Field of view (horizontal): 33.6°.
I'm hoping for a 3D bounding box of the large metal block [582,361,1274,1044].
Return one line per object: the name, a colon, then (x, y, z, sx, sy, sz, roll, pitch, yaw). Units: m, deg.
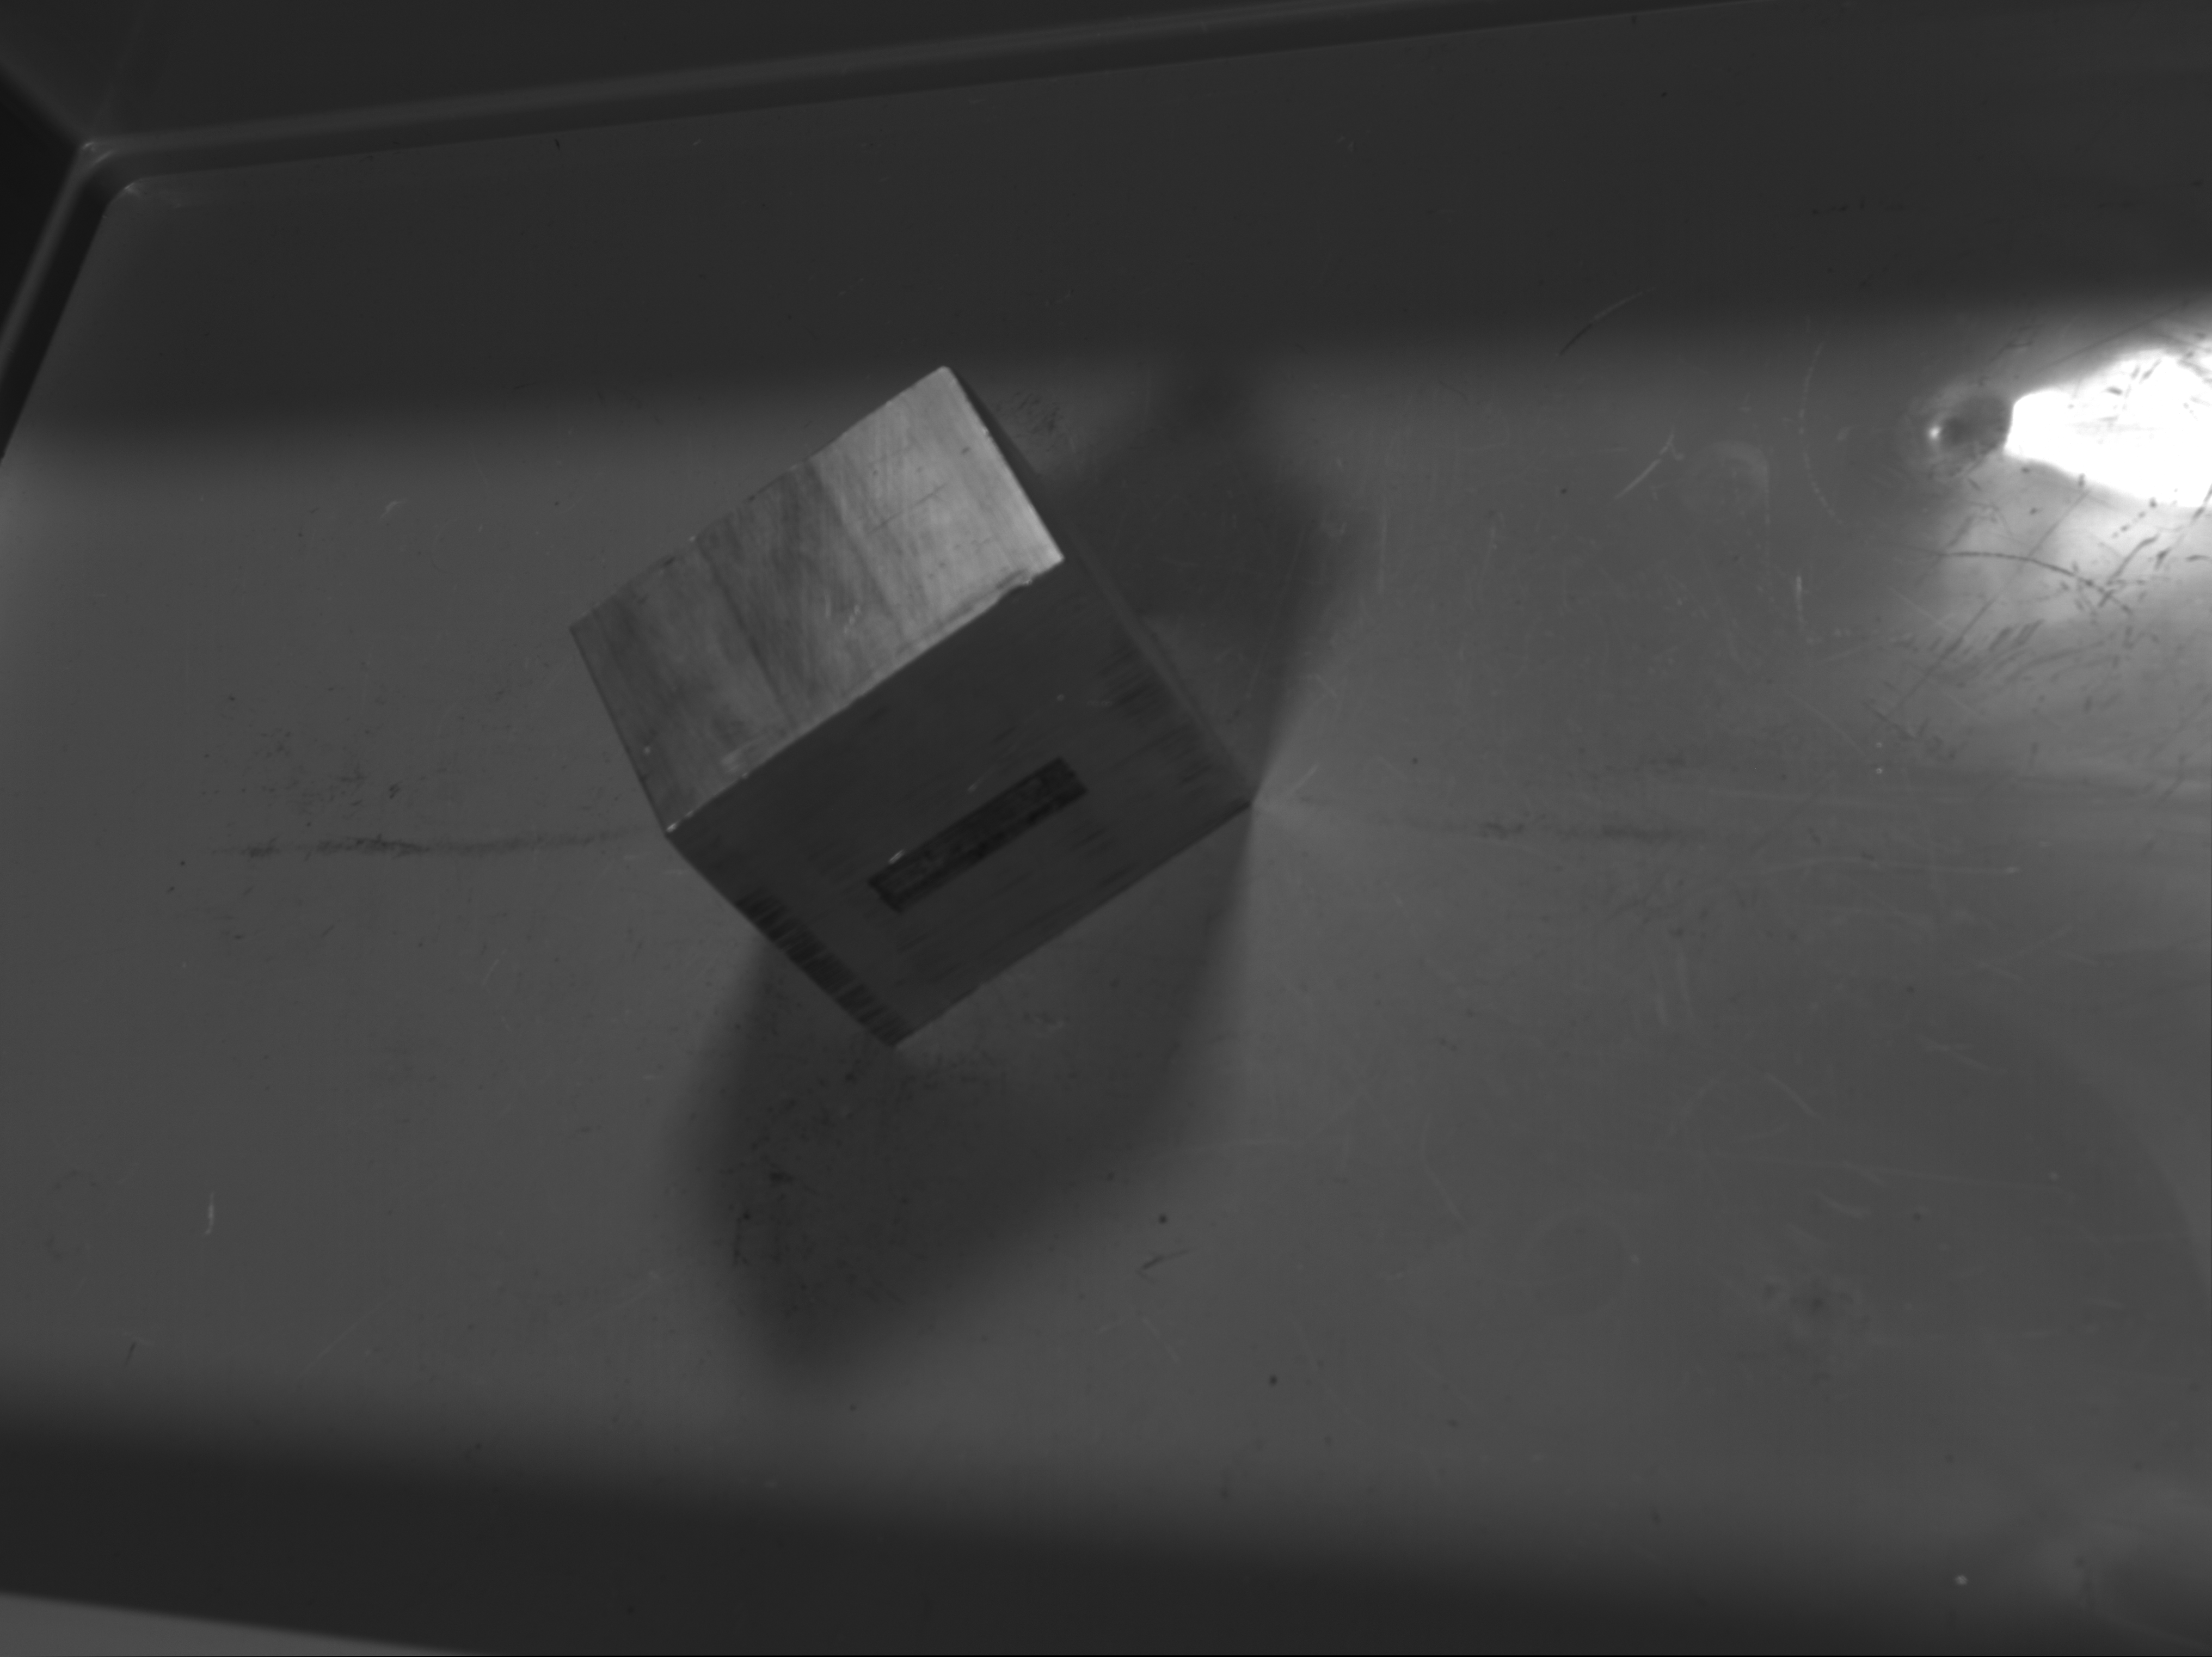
large metal block: (-0.030, -0.020, 0.634, 0.080, 0.080, 0.050, -34, 51, 6)
